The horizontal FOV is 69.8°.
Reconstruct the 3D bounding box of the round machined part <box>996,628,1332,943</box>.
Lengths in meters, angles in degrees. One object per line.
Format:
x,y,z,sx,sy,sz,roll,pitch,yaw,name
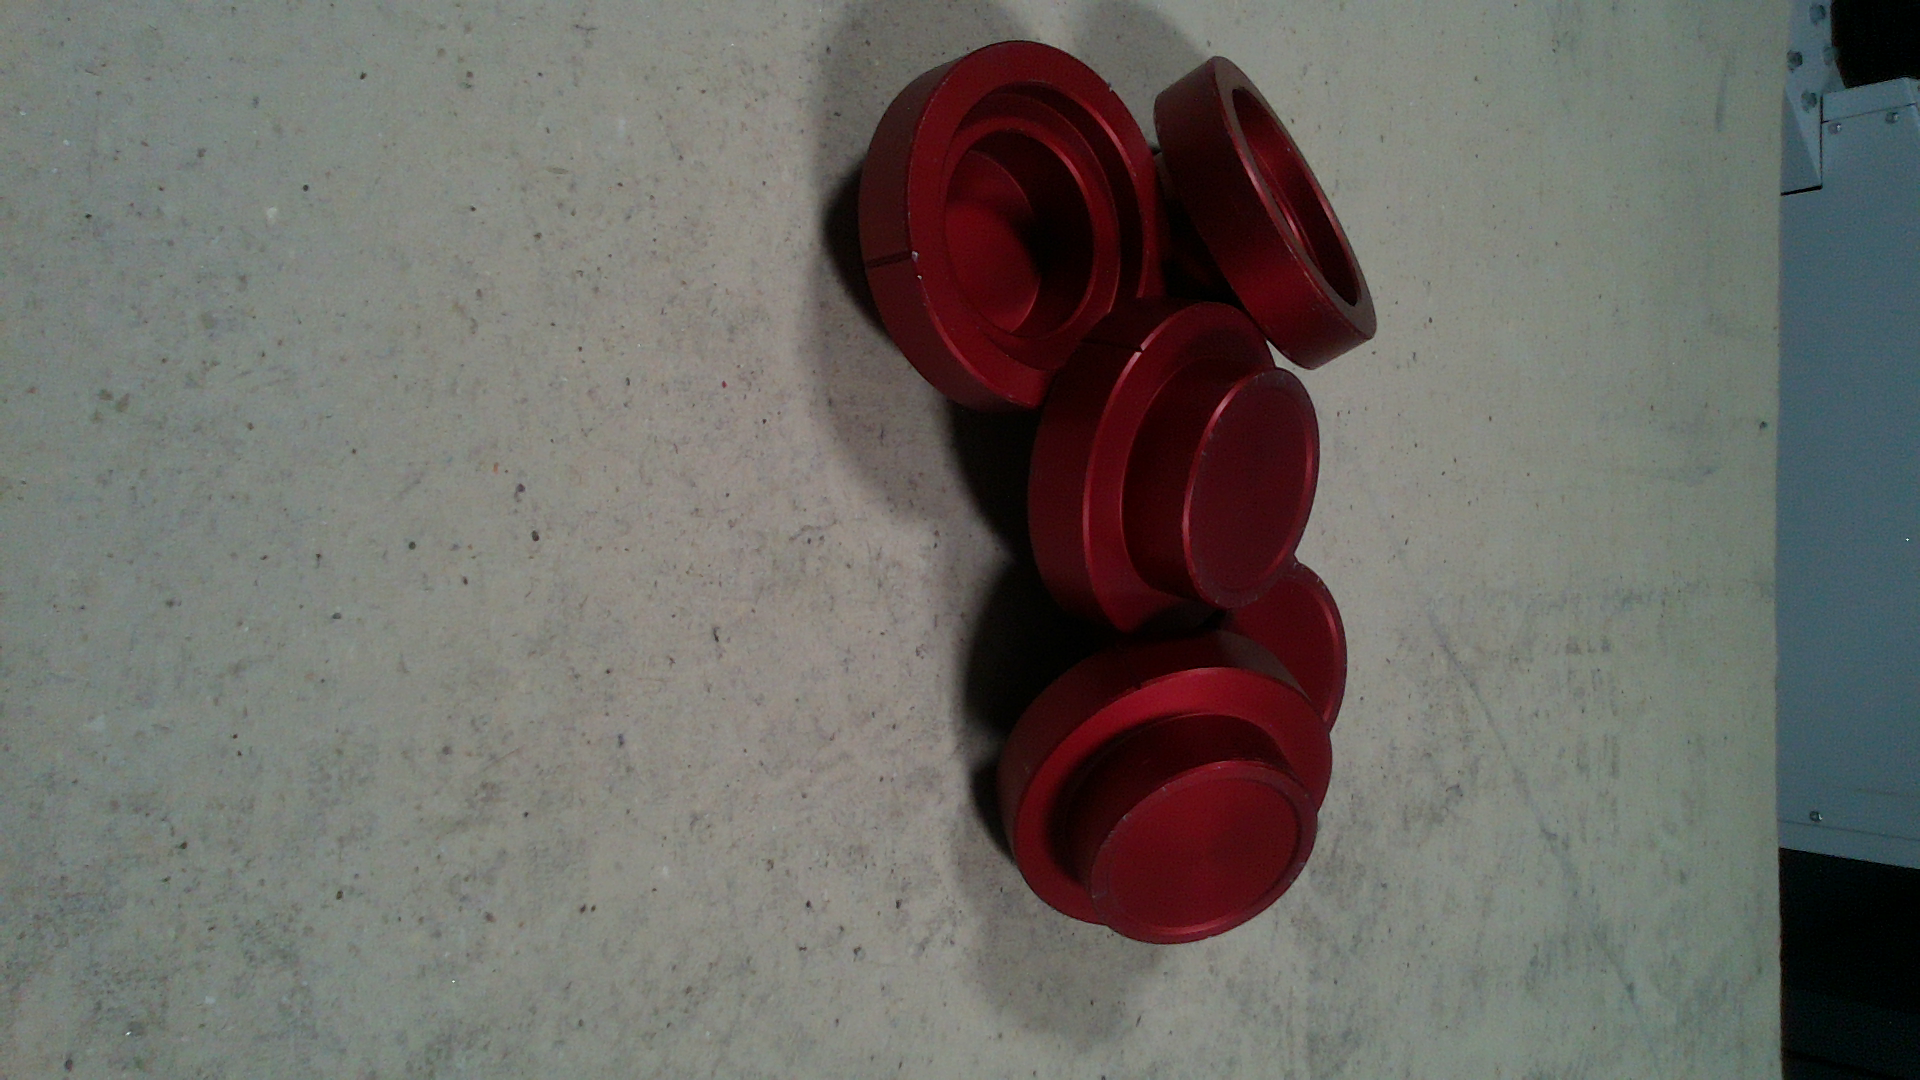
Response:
0.062,0.077,0.397,0.098,0.042,0.098,-8,123,-12,round machined part

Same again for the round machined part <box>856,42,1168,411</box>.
0.010,-0.084,0.386,0.098,0.042,0.098,0,90,-40,round machined part

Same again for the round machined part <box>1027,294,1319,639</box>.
0.066,-0.019,0.390,0.098,0.042,0.098,-16,112,-45,round machined part

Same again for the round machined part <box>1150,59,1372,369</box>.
0.087,-0.097,0.432,0.098,0.042,0.098,40,35,-35,round machined part

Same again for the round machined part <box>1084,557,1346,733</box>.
0.090,0.040,0.452,0.098,0.042,0.098,0,90,-40,round machined part
